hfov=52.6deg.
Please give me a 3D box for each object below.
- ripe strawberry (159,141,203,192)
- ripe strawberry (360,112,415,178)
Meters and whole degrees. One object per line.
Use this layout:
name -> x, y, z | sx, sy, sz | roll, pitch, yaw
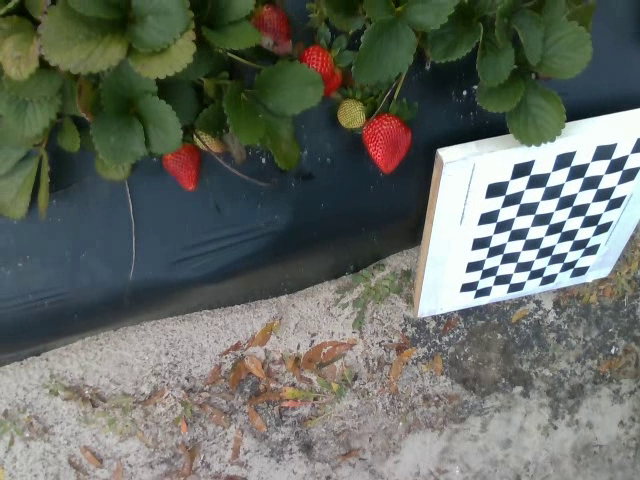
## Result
ripe strawberry -> -0.130, -0.072, 0.603 | 0.043, 0.052, 0.041 | -19, 7, 11
ripe strawberry -> 0.066, -0.092, 0.632 | 0.057, 0.065, 0.056 | -21, -33, 35
